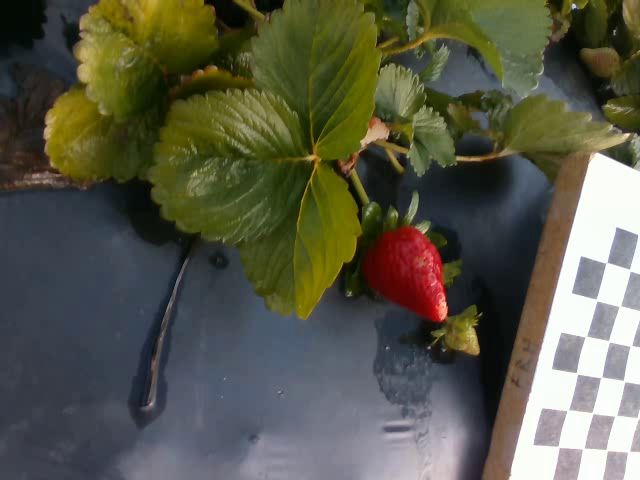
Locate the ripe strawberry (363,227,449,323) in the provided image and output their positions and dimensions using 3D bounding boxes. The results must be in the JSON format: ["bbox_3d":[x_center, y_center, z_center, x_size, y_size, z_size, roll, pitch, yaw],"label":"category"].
[{"bbox_3d":[0.053,0.023,0.311,0.043,0.052,0.057,-13,42,-20],"label":"ripe strawberry"}]
